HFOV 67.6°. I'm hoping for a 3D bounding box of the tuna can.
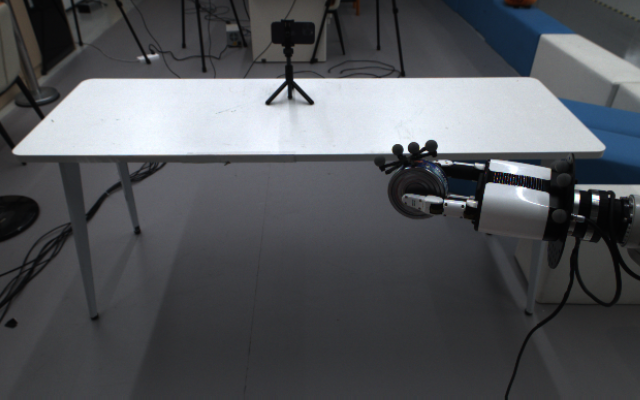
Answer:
[{"bbox_3d":[0.146,-0.018,0.712,0.085,0.085,0.034,15,30,17],"label":"tuna can"}]
